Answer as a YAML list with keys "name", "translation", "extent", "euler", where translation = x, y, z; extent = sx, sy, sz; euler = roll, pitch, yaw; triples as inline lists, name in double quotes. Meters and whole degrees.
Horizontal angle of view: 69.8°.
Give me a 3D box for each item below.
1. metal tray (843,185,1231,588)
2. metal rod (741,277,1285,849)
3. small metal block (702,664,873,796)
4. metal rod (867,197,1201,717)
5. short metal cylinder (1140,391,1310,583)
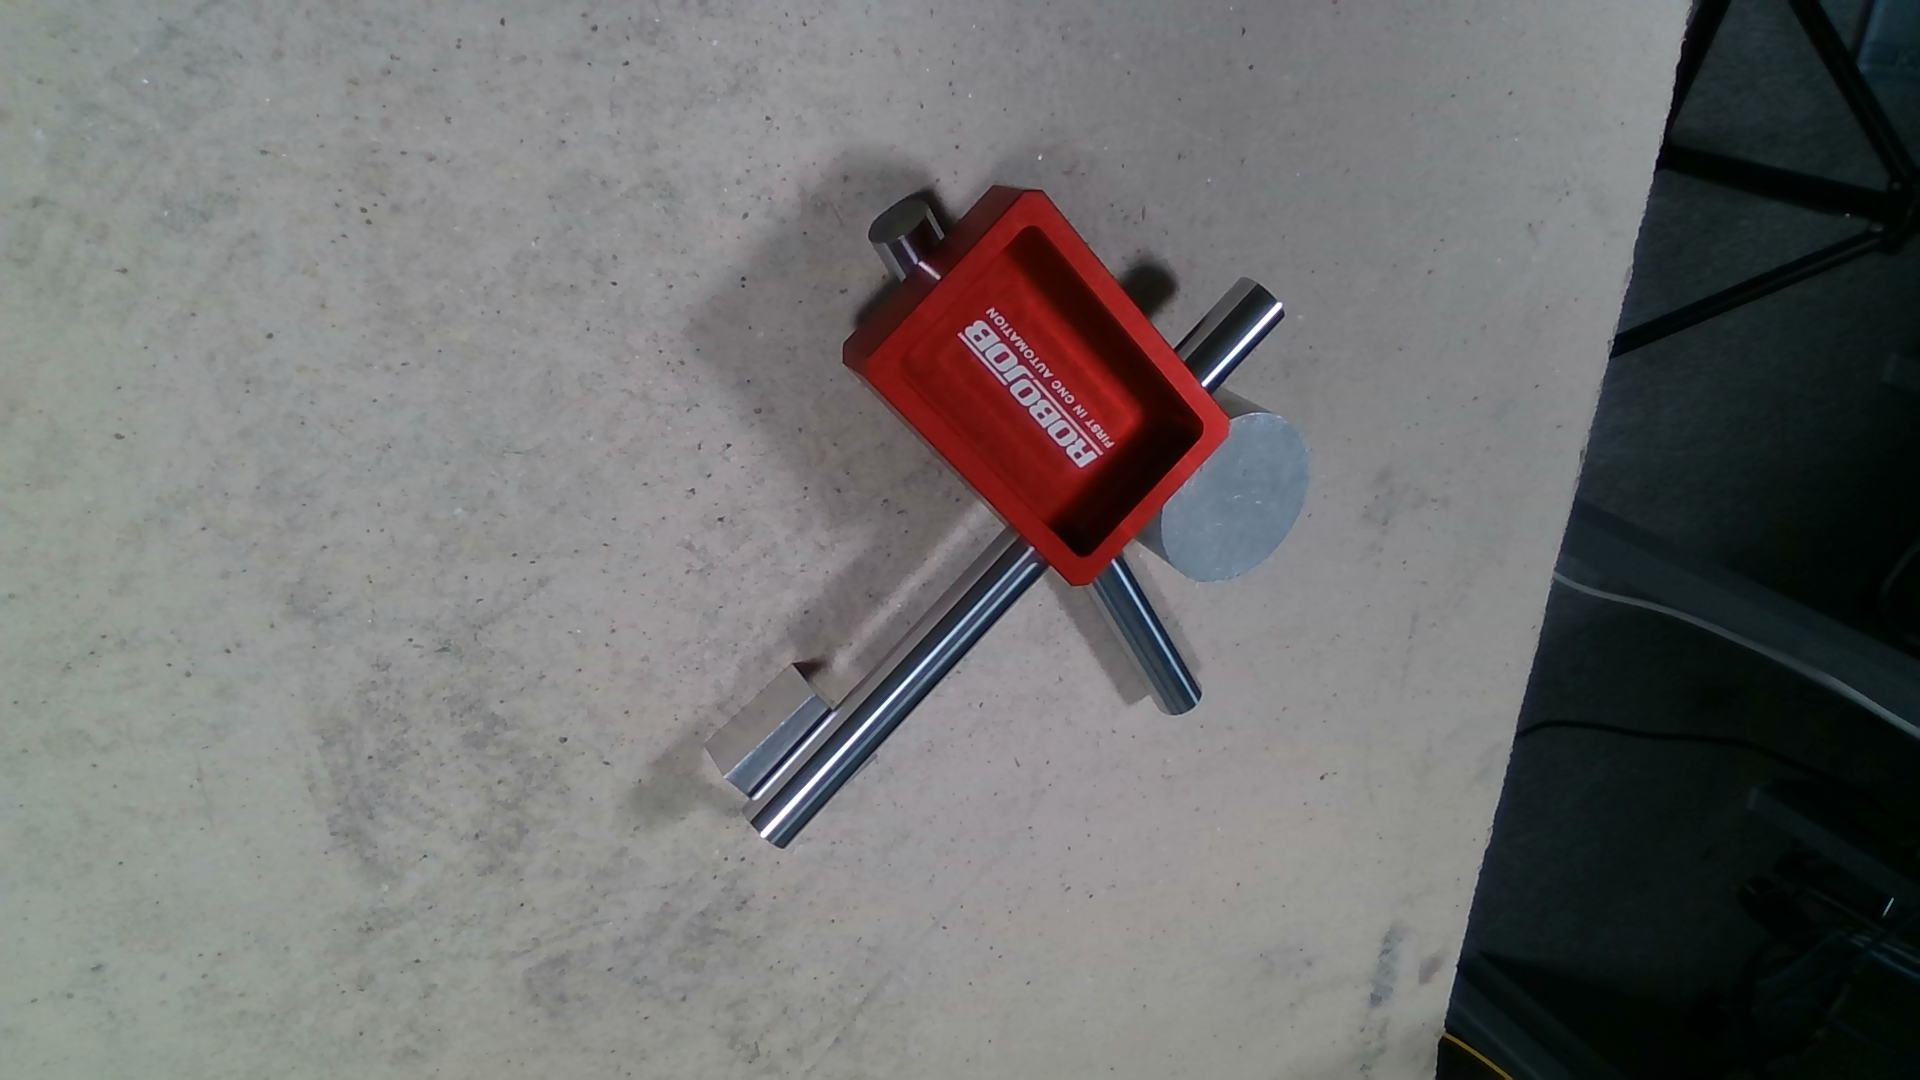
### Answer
- name: "metal tray"
  translation: [0.031, -0.056, 0.517]
  extent: [0.090, 0.030, 0.130]
  euler: [-47, 118, -2]
- name: "metal rod"
  translation: [0.022, 0.009, 0.568]
  extent: [0.300, 0.025, 0.025]
  euler: [-47, 129, -2]
- name: "small metal block"
  translation: [-0.072, 0.090, 0.585]
  extent: [0.050, 0.025, 0.050]
  euler: [-43, 129, -5]
- name: "metal rod"
  translation: [0.043, -0.020, 0.597]
  extent: [0.025, 0.025, 0.301]
  euler: [-40, 129, -7]
- name: "short metal cylinder"
  translation: [0.108, -0.028, 0.615]
  extent: [0.080, 0.050, 0.080]
  euler: [-14, 122, -25]
